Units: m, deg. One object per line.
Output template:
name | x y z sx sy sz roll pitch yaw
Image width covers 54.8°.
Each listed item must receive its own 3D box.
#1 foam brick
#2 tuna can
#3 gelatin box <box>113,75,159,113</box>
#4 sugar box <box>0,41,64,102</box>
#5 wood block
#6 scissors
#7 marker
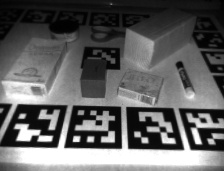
foam brick | -0.048 -0.004 0.491 0.053 0.051 0.078 3 47 2
tuna can | -0.155 -0.160 0.647 0.086 0.034 0.085 2 47 -1
gelatin box | 0.055 0.017 0.497 0.089 0.030 0.073 16 49 13
sugar box | -0.187 -0.040 0.530 0.093 0.045 0.176 7 47 2
wood block | 0.133 -0.125 0.599 0.208 0.091 0.089 -34 55 -31
scissors | 0.018 -0.151 0.665 0.202 0.016 0.087 6 47 6
marker | 0.166 -0.005 0.529 0.019 0.020 0.120 4 49 1
